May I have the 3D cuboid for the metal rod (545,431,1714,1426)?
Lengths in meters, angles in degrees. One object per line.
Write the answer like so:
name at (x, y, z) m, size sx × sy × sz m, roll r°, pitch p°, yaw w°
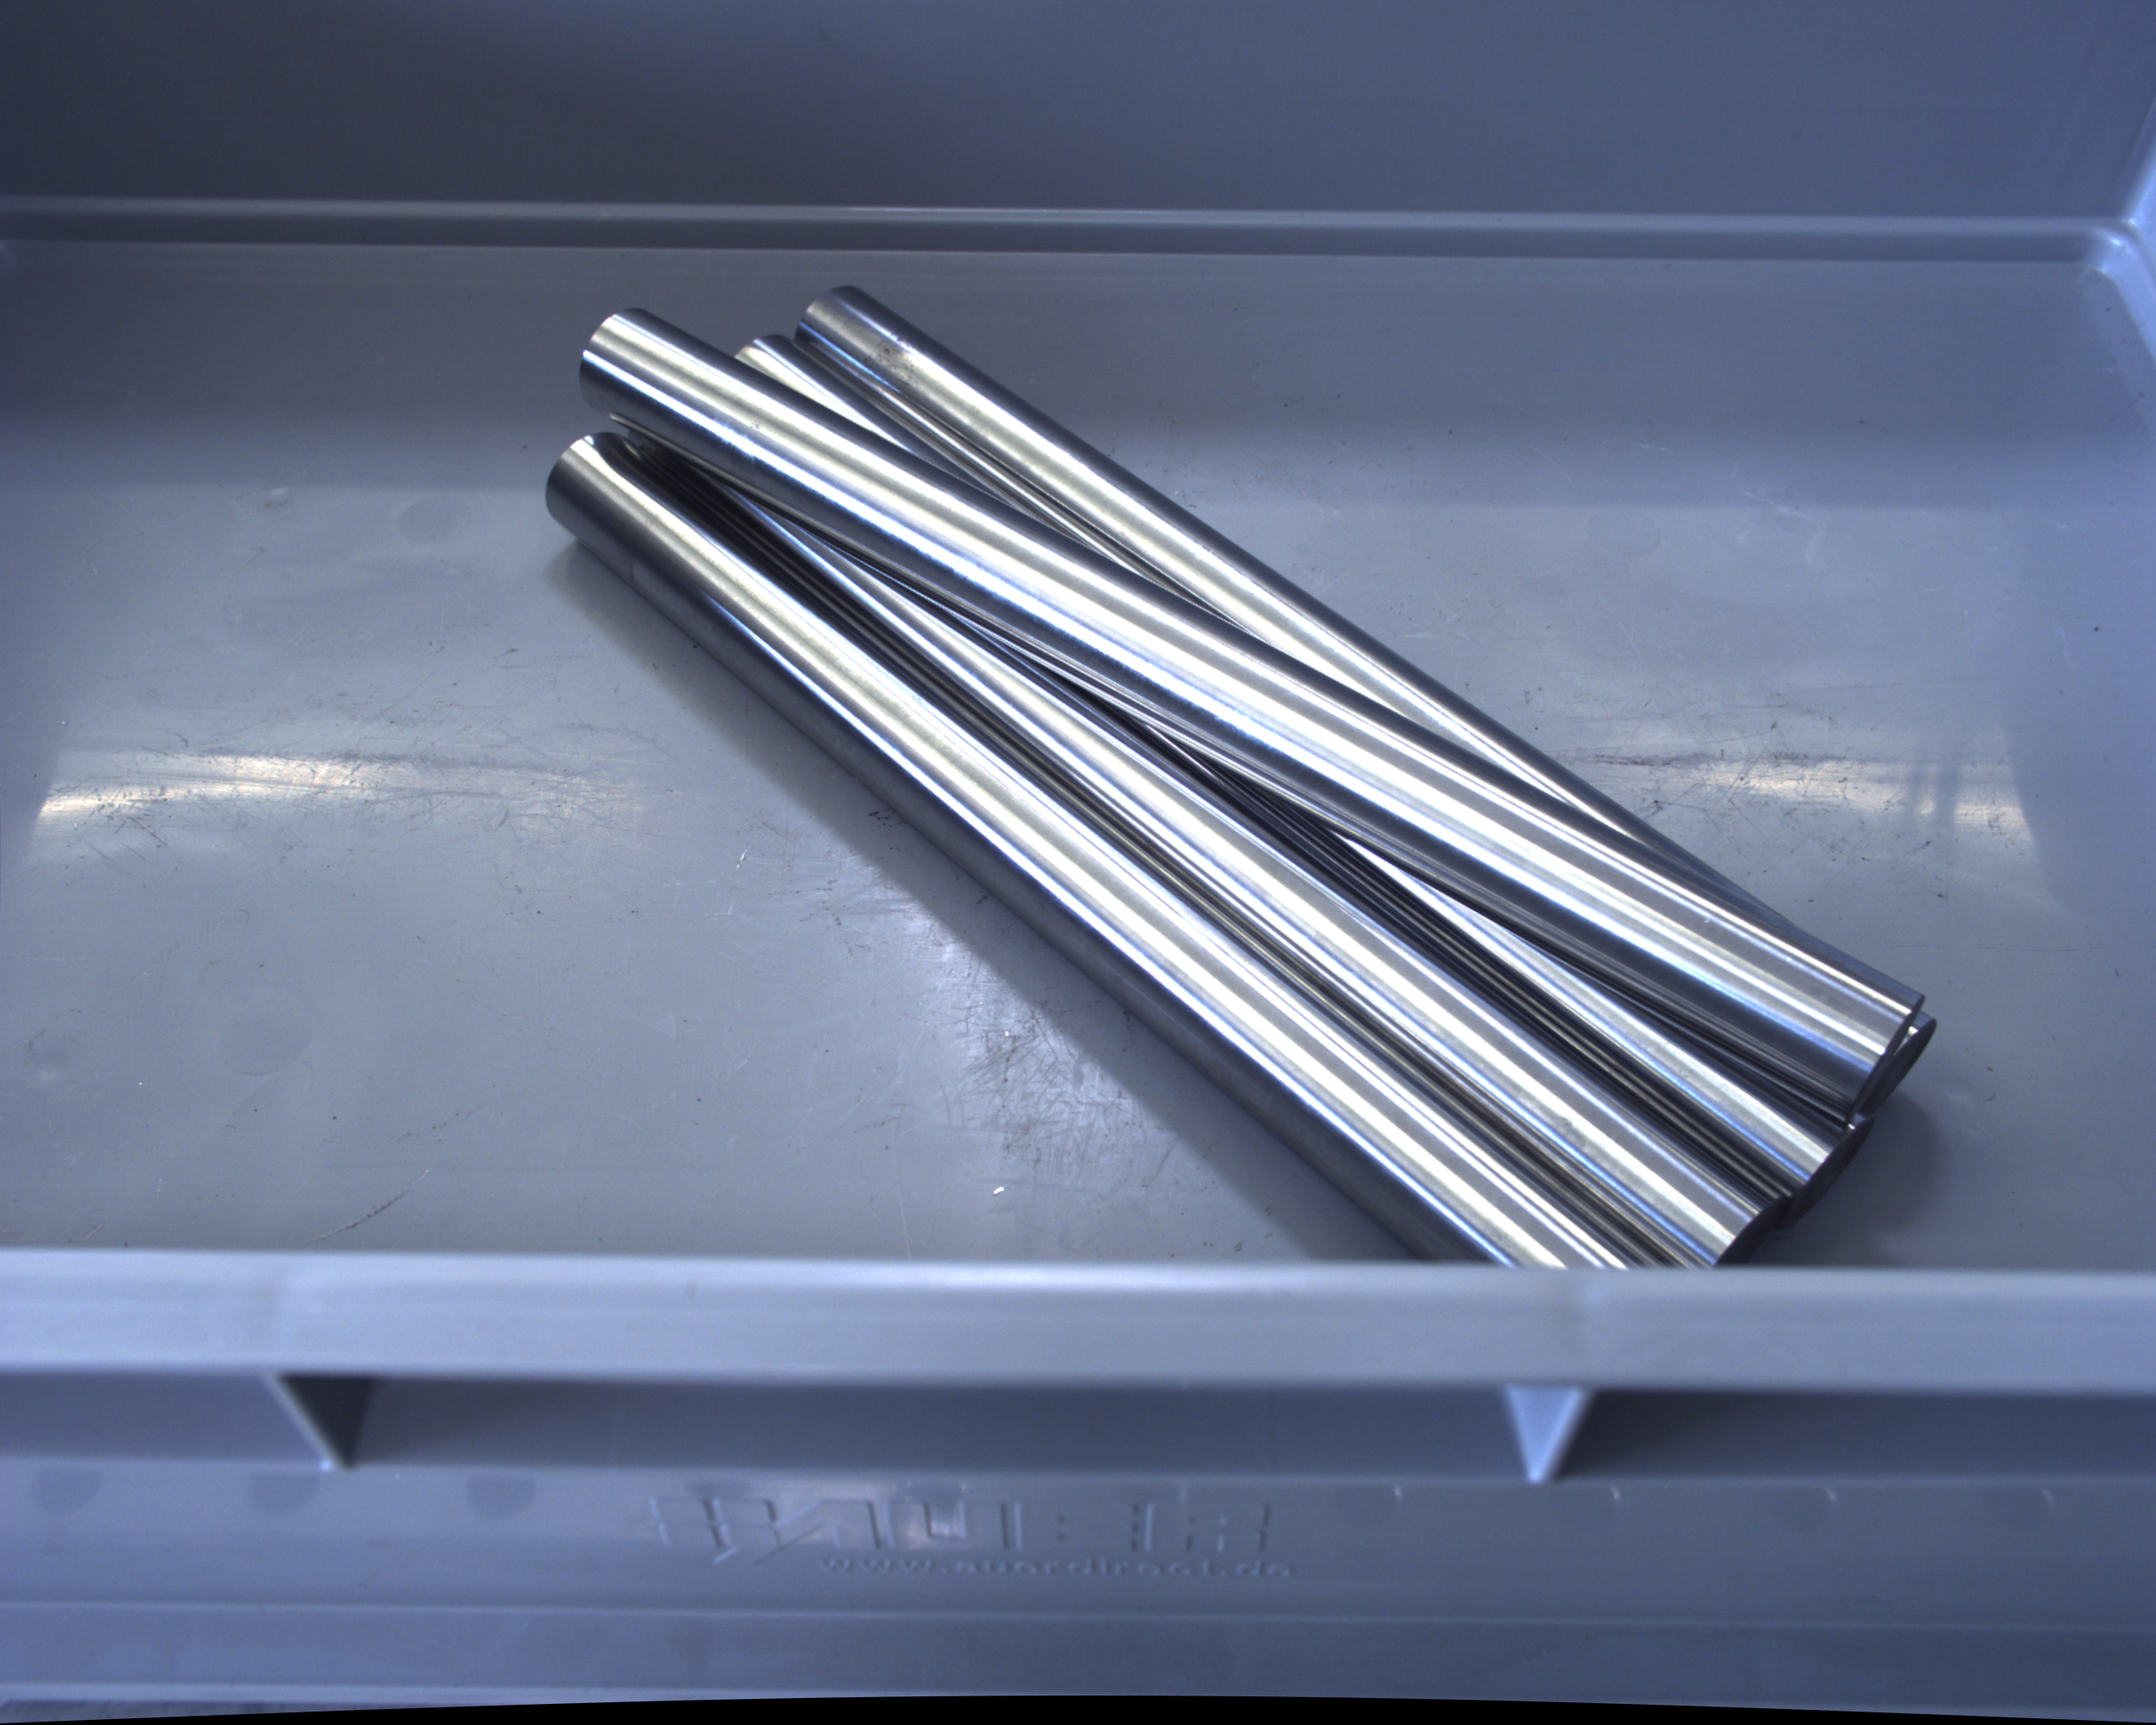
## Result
metal rod at (-0.008, -0.003, 0.406) m, size 0.025 × 0.025 × 0.300 m, roll -36°, pitch 59°, yaw -26°

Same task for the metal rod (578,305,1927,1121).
metal rod at (0.016, -0.040, 0.403) m, size 0.300 × 0.025 × 0.025 m, roll 32°, pitch 57°, yaw 23°

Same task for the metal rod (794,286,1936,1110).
metal rod at (0.043, -0.046, 0.442) m, size 0.025 × 0.025 × 0.300 m, roll -36°, pitch 59°, yaw -26°

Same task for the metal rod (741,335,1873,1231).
metal rod at (0.026, -0.030, 0.429) m, size 0.025 × 0.025 × 0.300 m, roll -36°, pitch 59°, yaw -26°

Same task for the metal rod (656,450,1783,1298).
metal rod at (0.007, -0.018, 0.419) m, size 0.025 × 0.025 × 0.300 m, roll -36°, pitch 59°, yaw -26°
